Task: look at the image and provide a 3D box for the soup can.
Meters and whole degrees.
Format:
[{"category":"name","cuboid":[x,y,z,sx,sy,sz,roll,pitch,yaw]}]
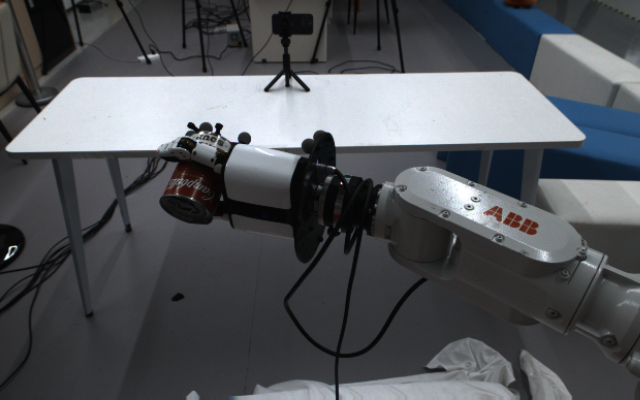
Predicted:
[{"category":"soup can","cuboid":[-0.152,-0.028,0.614,0.067,0.067,0.101,9,58,10]}]
